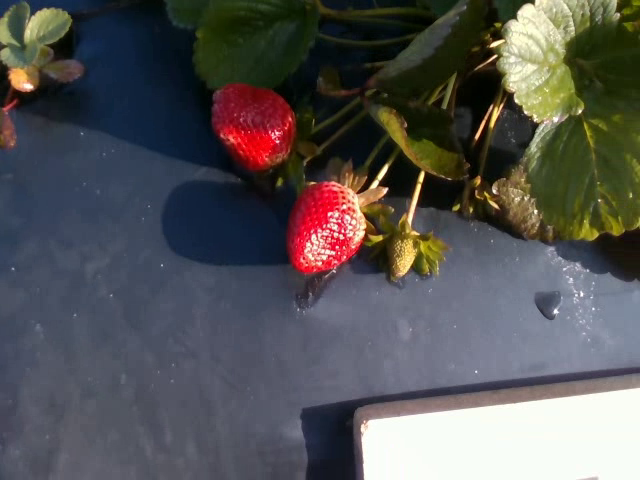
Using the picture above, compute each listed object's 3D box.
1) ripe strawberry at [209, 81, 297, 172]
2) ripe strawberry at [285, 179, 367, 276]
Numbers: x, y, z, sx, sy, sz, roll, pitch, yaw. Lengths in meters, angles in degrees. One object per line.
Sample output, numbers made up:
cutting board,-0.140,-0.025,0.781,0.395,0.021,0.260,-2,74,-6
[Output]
ripe strawberry,-0.034,-0.058,0.289,0.054,0.048,0.039,14,-1,-31
ripe strawberry,0.001,-0.005,0.260,0.039,0.043,0.053,-42,10,46
